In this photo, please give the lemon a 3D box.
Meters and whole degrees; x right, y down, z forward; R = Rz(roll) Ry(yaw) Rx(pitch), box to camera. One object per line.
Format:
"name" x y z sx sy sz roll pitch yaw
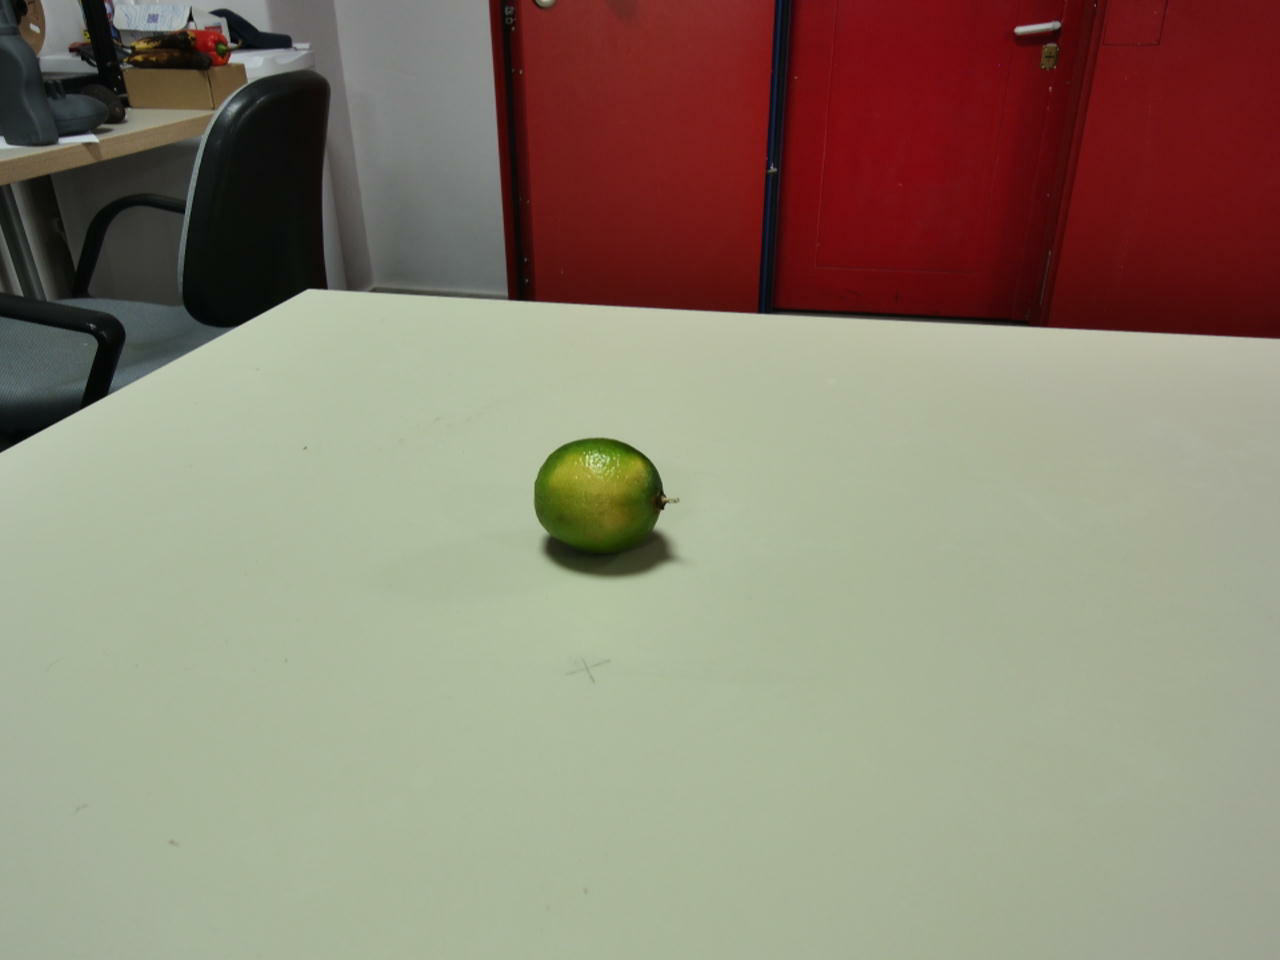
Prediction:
"lemon" -0.018 0.007 0.439 0.054 0.050 0.055 -13 27 -24
